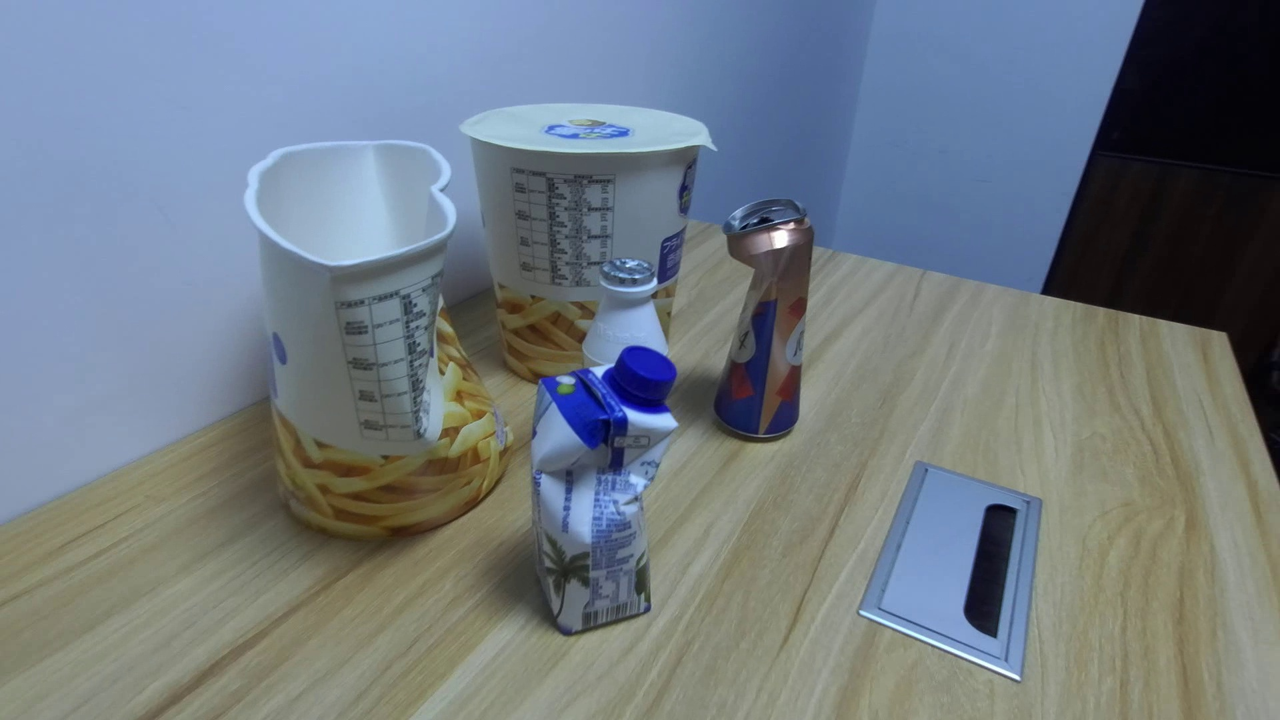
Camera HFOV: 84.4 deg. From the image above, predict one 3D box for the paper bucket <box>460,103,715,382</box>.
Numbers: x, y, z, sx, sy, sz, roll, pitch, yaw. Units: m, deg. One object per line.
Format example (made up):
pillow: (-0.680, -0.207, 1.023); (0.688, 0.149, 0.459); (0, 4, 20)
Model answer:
paper bucket: (-0.043, -0.094, 0.583); (0.198, 0.194, 0.198); (2, 29, -1)

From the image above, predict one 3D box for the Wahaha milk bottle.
Wahaha milk bottle: (-0.010, 0.012, 0.437); (0.053, 0.147, 0.053); (3, 18, -1)

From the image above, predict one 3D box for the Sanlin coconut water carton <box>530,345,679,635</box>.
Sanlin coconut water carton: (-0.020, 0.064, 0.349); (0.070, 0.144, 0.060); (-8, 32, -20)

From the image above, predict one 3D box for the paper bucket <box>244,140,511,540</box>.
paper bucket: (-0.156, -0.016, 0.430); (0.148, 0.199, 0.217); (-23, 37, -39)

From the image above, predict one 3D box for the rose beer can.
rose beer can: (0.089, -0.026, 0.501); (0.070, 0.168, 0.069); (-24, 36, -36)
